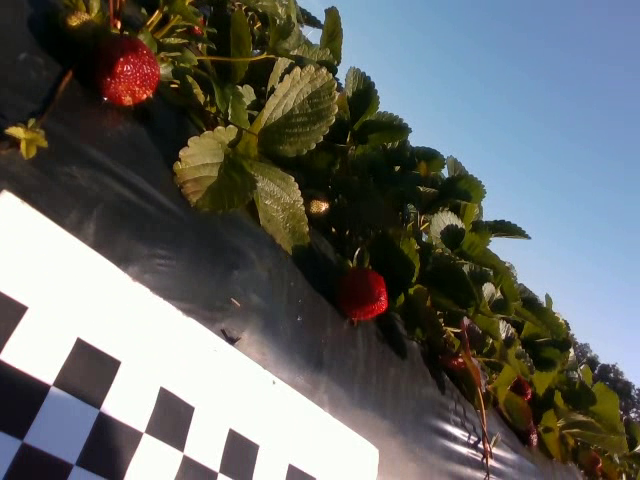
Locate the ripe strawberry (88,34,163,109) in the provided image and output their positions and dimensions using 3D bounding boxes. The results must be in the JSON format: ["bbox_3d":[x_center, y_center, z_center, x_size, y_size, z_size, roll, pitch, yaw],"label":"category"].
[{"bbox_3d":[-0.103,-0.088,0.304,0.043,0.042,0.053,-38,25,-5],"label":"ripe strawberry"}]

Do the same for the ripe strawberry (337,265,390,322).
[{"bbox_3d":[0.031,0.039,0.397,0.043,0.043,0.050,-23,6,-12],"label":"ripe strawberry"}]
